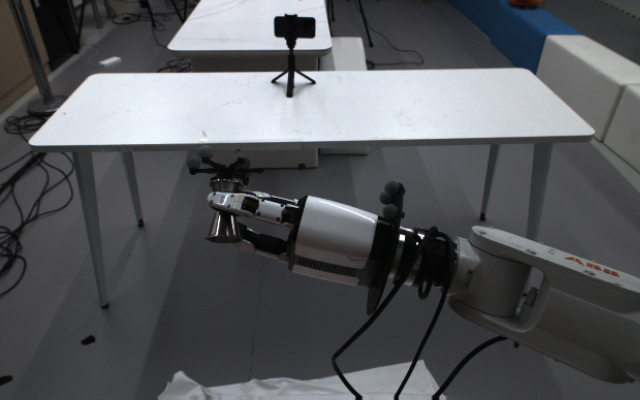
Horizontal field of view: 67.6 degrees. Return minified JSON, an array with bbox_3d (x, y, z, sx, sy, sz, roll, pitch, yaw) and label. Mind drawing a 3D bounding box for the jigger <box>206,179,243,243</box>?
[{"bbox_3d":[-0.111,0.013,0.570,0.043,0.043,0.071,0,75,-3],"label":"jigger"}]
